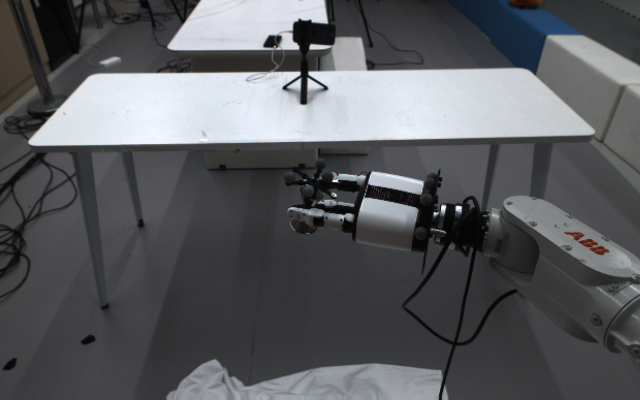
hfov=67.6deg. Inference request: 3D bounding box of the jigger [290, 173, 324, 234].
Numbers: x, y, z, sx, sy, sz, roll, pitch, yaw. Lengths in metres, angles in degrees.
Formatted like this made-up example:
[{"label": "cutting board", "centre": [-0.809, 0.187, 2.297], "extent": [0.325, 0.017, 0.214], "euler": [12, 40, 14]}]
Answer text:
[{"label": "jigger", "centre": [-0.020, 0.013, 0.756], "extent": [0.043, 0.071, 0.043], "euler": [10, 36, -7]}]
